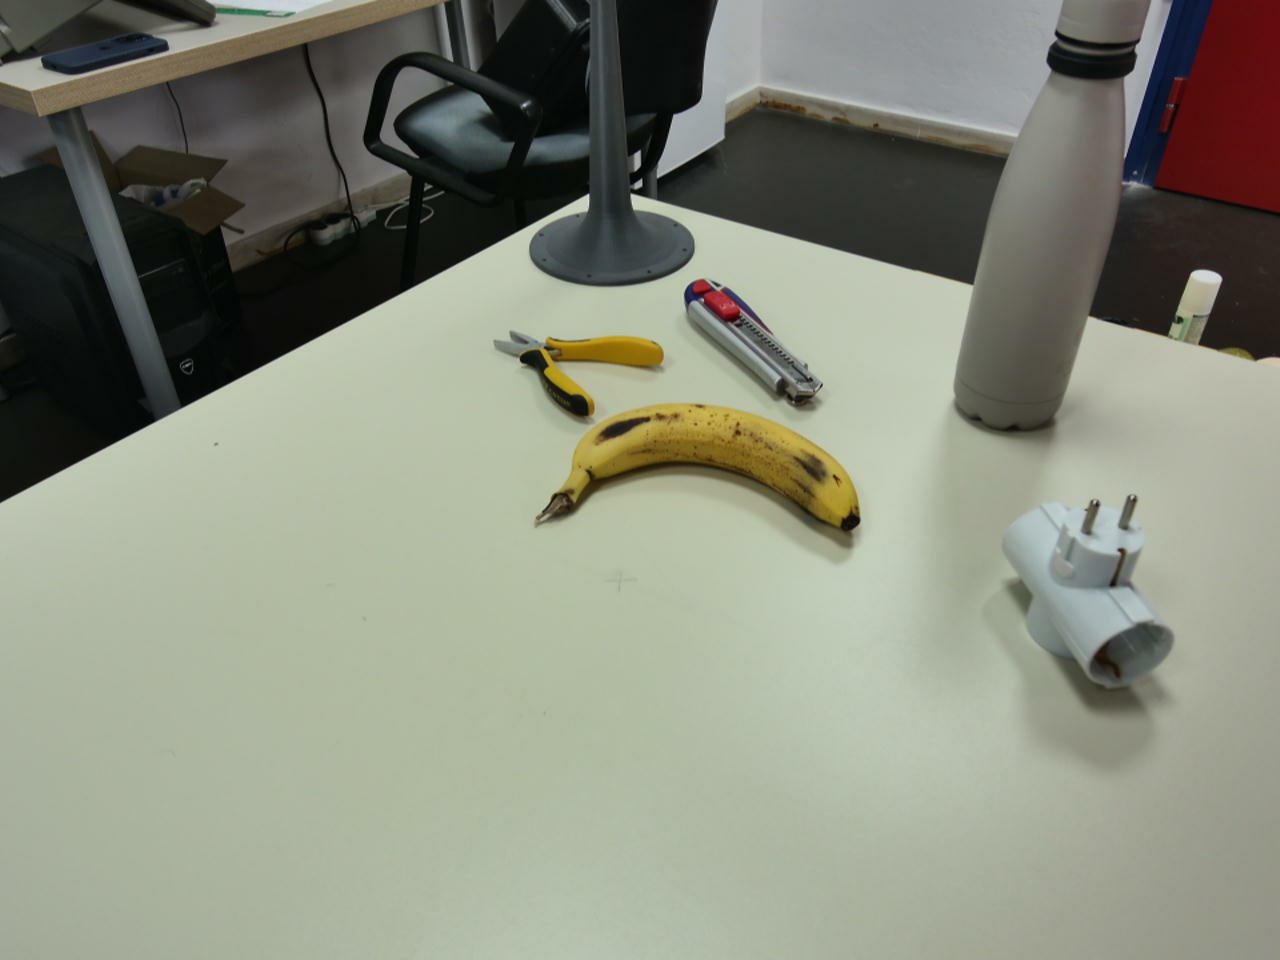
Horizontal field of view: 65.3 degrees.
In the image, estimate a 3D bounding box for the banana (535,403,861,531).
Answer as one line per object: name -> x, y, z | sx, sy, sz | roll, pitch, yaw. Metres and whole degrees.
banana -> 0.041, -0.010, 0.615 | 0.186, 0.038, 0.097 | 5, 38, 8
